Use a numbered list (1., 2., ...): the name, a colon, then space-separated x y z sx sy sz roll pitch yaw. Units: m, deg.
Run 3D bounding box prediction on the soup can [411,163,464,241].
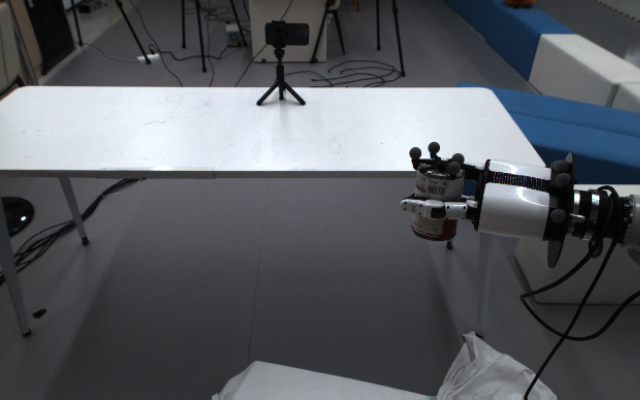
1. soup can: 0.173 -0.001 0.709 0.067 0.101 0.067 1 25 0
